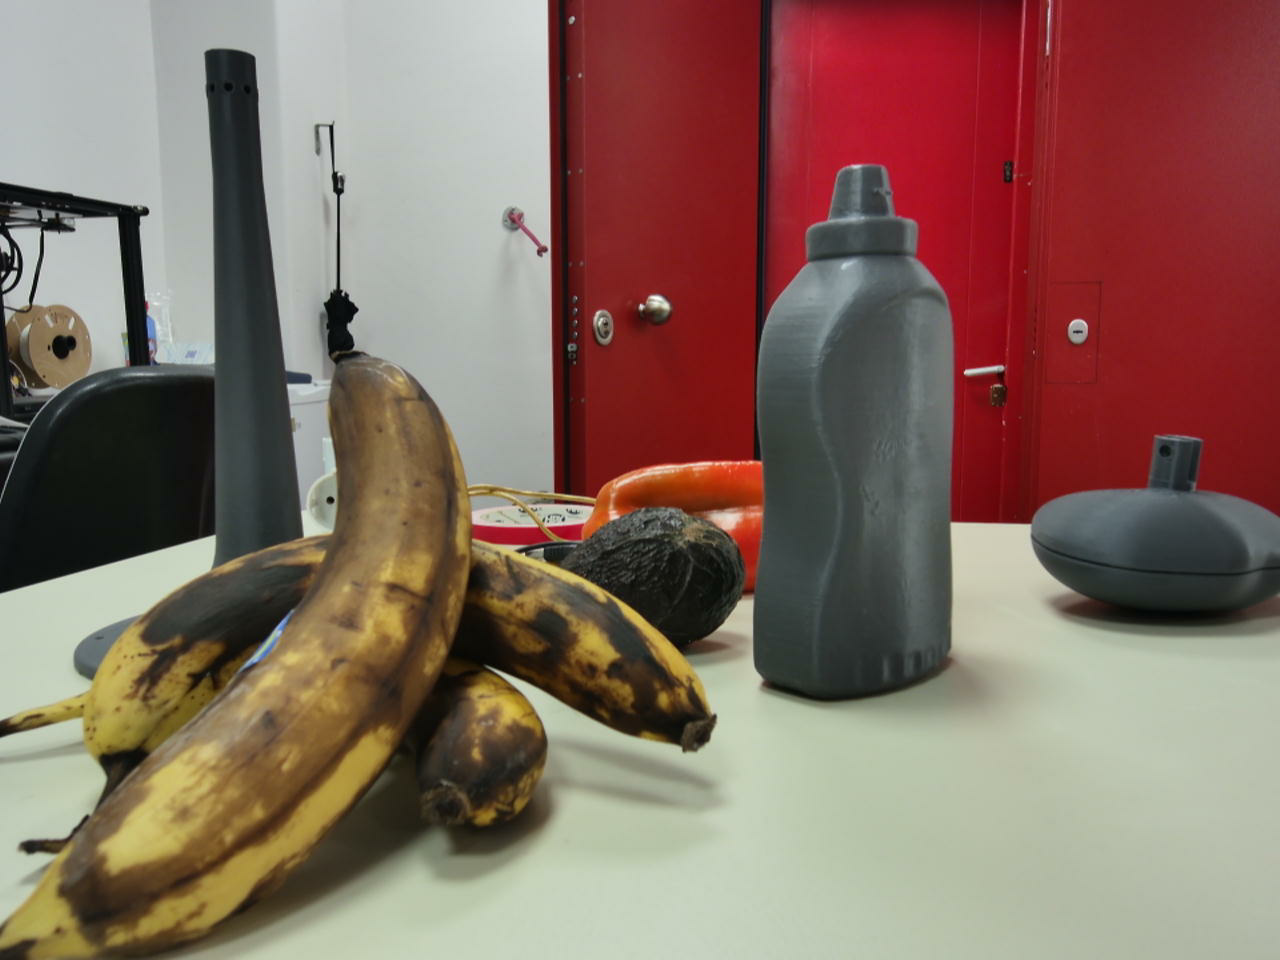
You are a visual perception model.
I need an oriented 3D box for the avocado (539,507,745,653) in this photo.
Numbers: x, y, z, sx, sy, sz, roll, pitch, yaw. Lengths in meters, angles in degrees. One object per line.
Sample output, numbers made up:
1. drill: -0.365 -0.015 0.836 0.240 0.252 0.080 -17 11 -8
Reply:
1. avocado: 0.001 0.043 0.437 0.092 0.062 0.062 -1 4 -11
